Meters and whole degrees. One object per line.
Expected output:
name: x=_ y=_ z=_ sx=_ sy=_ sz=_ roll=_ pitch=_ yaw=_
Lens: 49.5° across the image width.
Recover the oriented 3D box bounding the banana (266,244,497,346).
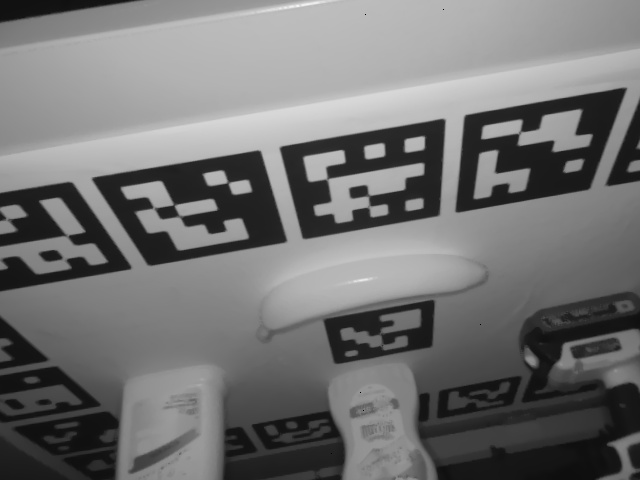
banana: x=0.042 y=0.036 z=0.548 sx=0.197 sy=0.039 sz=0.074 roll=-15 pitch=138 yaw=3

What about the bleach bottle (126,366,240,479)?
bleach bottle: x=-0.118 y=0.237 z=0.602 sx=0.103 sy=0.252 sz=0.067 roll=-4 pitch=140 yaw=-4

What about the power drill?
power drill: x=0.259 y=0.181 z=0.612 sx=0.184 sy=0.188 sz=0.057 roll=-16 pitch=140 yaw=3

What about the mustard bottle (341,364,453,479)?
mustard bottle: x=0.077 y=0.219 z=0.670 sx=0.096 sy=0.192 sz=0.058 roll=-14 pitch=140 yaw=9
